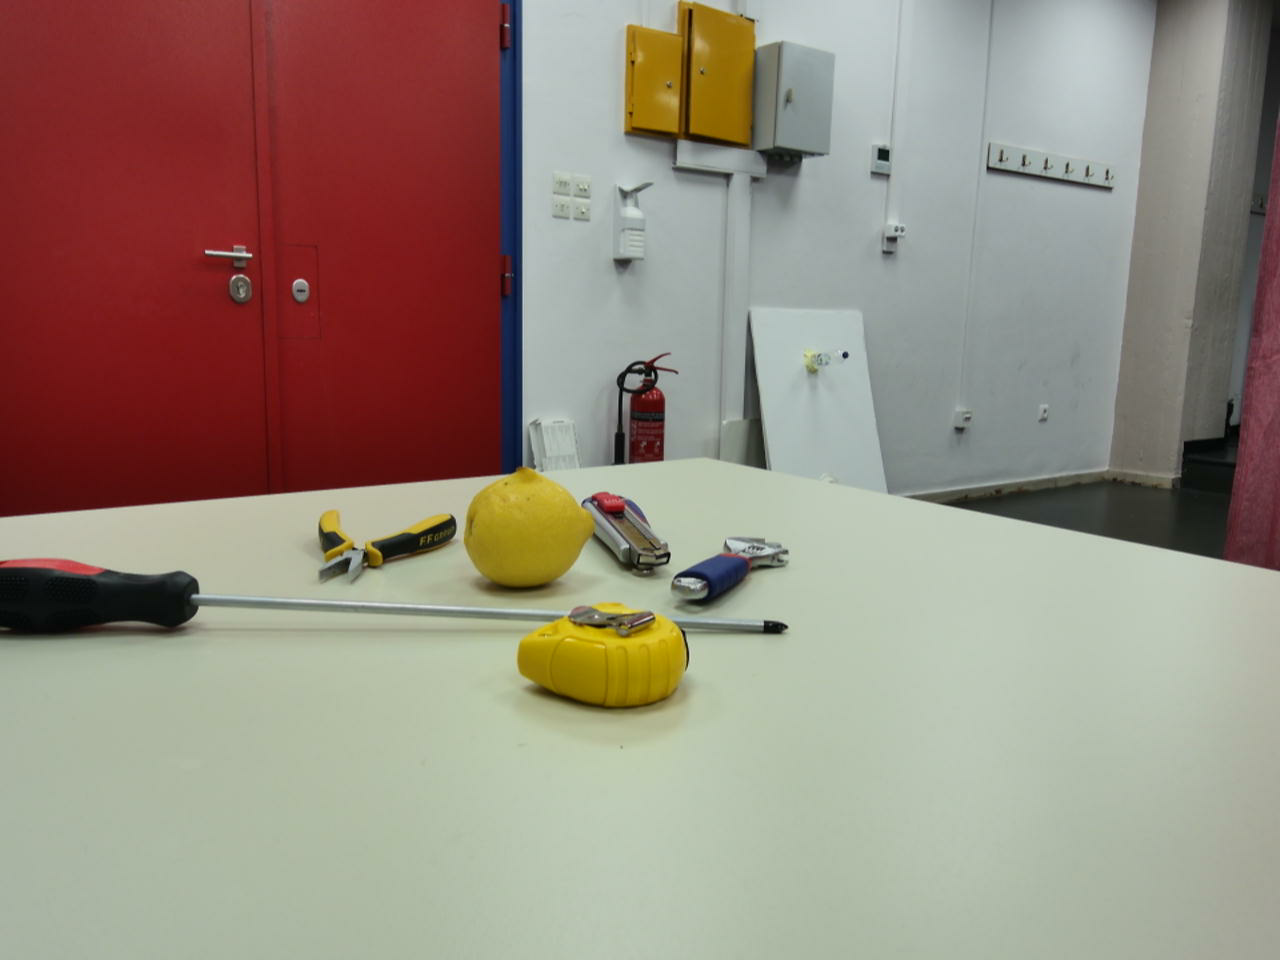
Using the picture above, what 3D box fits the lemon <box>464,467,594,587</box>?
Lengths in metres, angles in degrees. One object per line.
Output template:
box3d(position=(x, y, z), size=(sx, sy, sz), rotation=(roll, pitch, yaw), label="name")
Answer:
box3d(position=(-0.069, 0.027, 0.593), size=(0.071, 0.071, 0.070), rotation=(2, 8, 20), label="lemon")
